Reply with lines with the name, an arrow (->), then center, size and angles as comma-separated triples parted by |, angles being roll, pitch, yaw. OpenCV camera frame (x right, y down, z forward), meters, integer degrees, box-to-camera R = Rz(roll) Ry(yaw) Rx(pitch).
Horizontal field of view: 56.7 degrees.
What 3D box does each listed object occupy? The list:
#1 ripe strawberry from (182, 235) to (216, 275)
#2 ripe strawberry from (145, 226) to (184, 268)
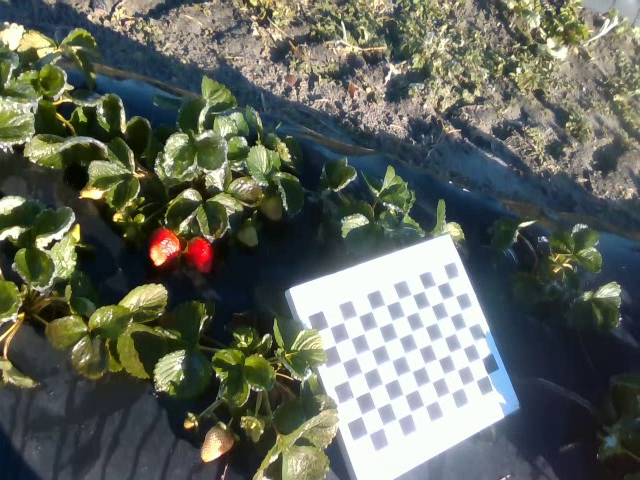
ripe strawberry -> -0.181, 0.020, 0.885 | 0.043, 0.059, 0.040 | -17, -13, -26
ripe strawberry -> -0.234, 0.014, 0.875 | 0.052, 0.070, 0.040 | 33, -33, -18
